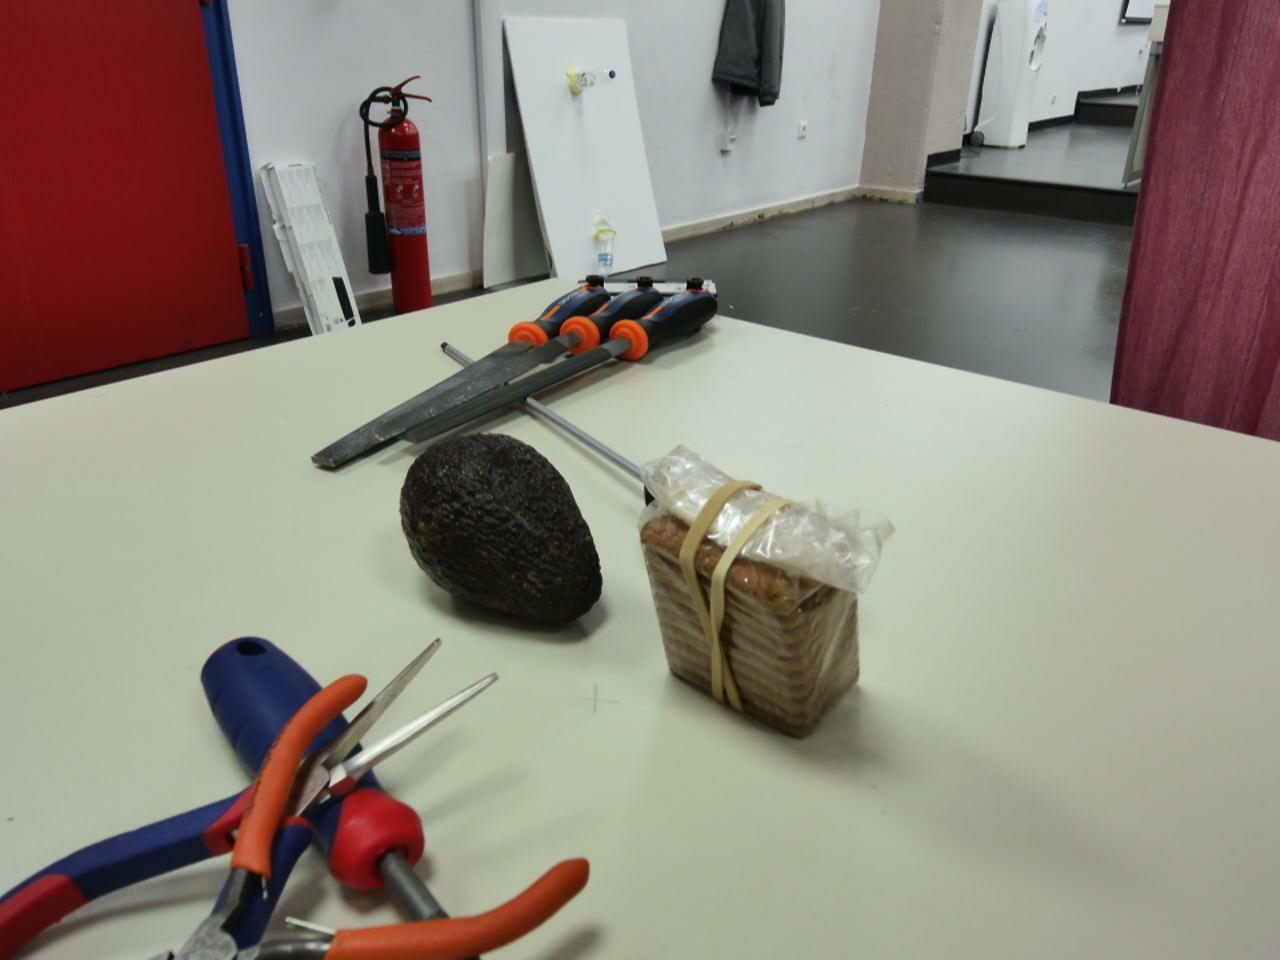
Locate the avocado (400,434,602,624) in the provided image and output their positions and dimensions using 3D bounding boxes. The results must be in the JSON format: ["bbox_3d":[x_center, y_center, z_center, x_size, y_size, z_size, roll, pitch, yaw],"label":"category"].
[{"bbox_3d":[-0.059,0.018,0.407,0.070,0.069,0.090,-10,25,-24],"label":"avocado"}]
